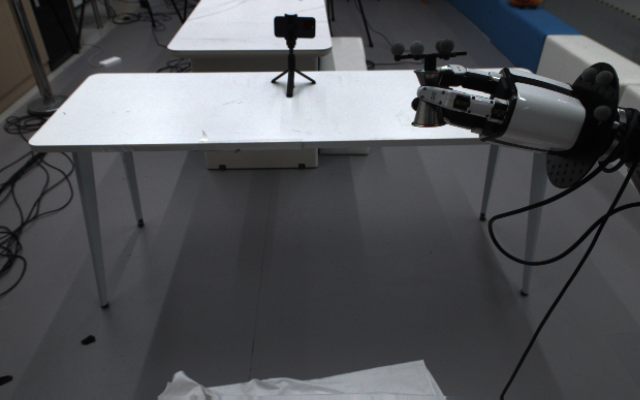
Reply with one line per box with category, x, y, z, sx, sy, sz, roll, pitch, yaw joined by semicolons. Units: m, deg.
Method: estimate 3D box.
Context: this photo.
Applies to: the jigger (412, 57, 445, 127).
jigger;0.139;-0.130;0.616;0.043;0.071;0.043;-3;19;1
